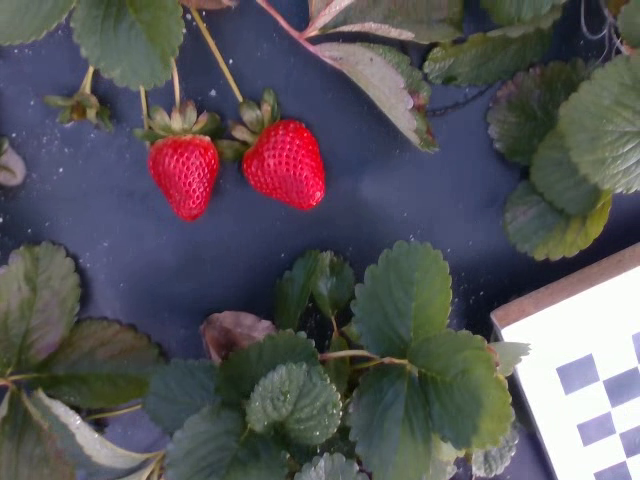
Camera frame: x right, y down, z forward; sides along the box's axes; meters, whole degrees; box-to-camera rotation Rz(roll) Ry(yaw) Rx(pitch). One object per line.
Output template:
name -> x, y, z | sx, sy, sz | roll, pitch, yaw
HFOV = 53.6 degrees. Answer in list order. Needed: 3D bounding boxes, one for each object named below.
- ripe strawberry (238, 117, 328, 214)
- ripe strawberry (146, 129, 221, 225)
ripe strawberry -> -0.020, -0.042, 0.380 | 0.064, 0.058, 0.051 | 47, 12, 15
ripe strawberry -> -0.082, -0.038, 0.384 | 0.048, 0.056, 0.041 | -13, -3, 1
